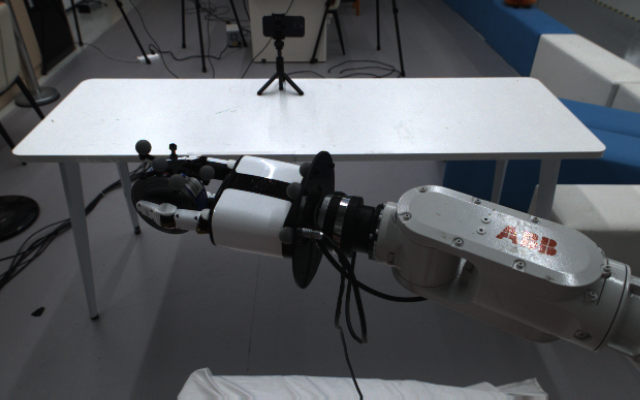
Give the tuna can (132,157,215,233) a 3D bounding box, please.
[{"bbox_3d":[-0.182,-0.001,0.591,0.085,0.085,0.034,9,34,10],"label":"tuna can"}]
